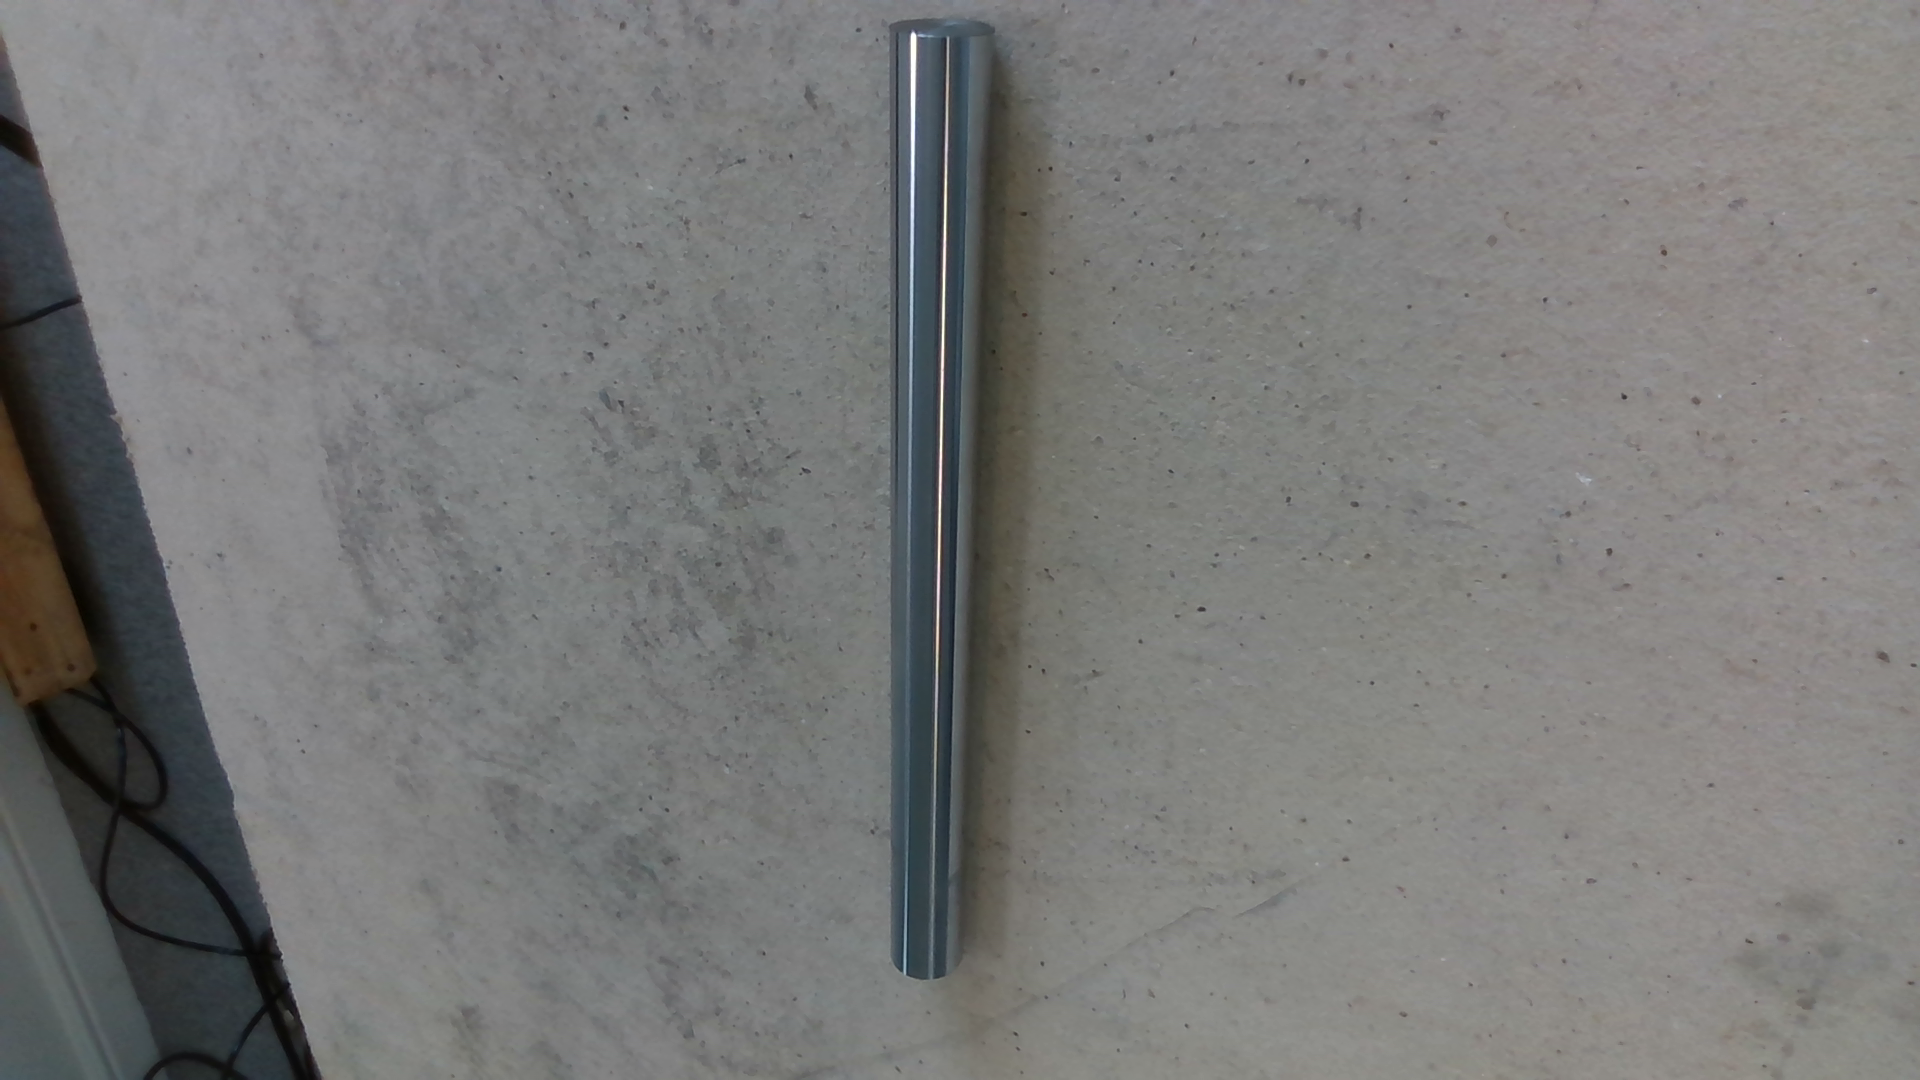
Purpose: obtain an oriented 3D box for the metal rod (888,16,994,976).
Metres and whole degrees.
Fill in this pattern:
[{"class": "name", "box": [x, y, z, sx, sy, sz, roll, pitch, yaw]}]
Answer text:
[{"class": "metal rod", "box": [-0.008, 0.009, 0.398, 0.025, 0.025, 0.301, 16, 123, 24]}]
